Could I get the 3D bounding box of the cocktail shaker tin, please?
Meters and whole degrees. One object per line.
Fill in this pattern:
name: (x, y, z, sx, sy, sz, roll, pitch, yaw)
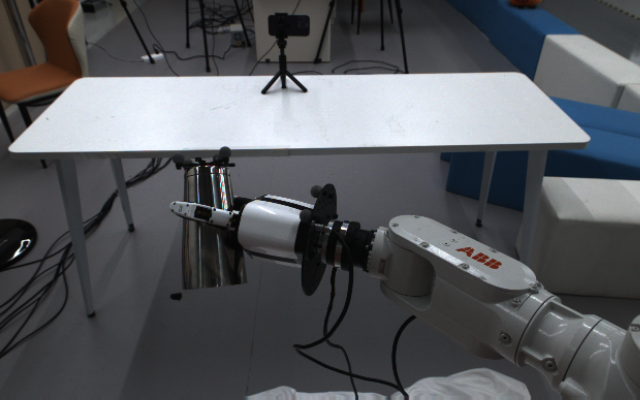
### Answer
cocktail shaker tin: (-0.159, 0.041, 0.704, 0.093, 0.170, 0.093, -6, -7, -1)
